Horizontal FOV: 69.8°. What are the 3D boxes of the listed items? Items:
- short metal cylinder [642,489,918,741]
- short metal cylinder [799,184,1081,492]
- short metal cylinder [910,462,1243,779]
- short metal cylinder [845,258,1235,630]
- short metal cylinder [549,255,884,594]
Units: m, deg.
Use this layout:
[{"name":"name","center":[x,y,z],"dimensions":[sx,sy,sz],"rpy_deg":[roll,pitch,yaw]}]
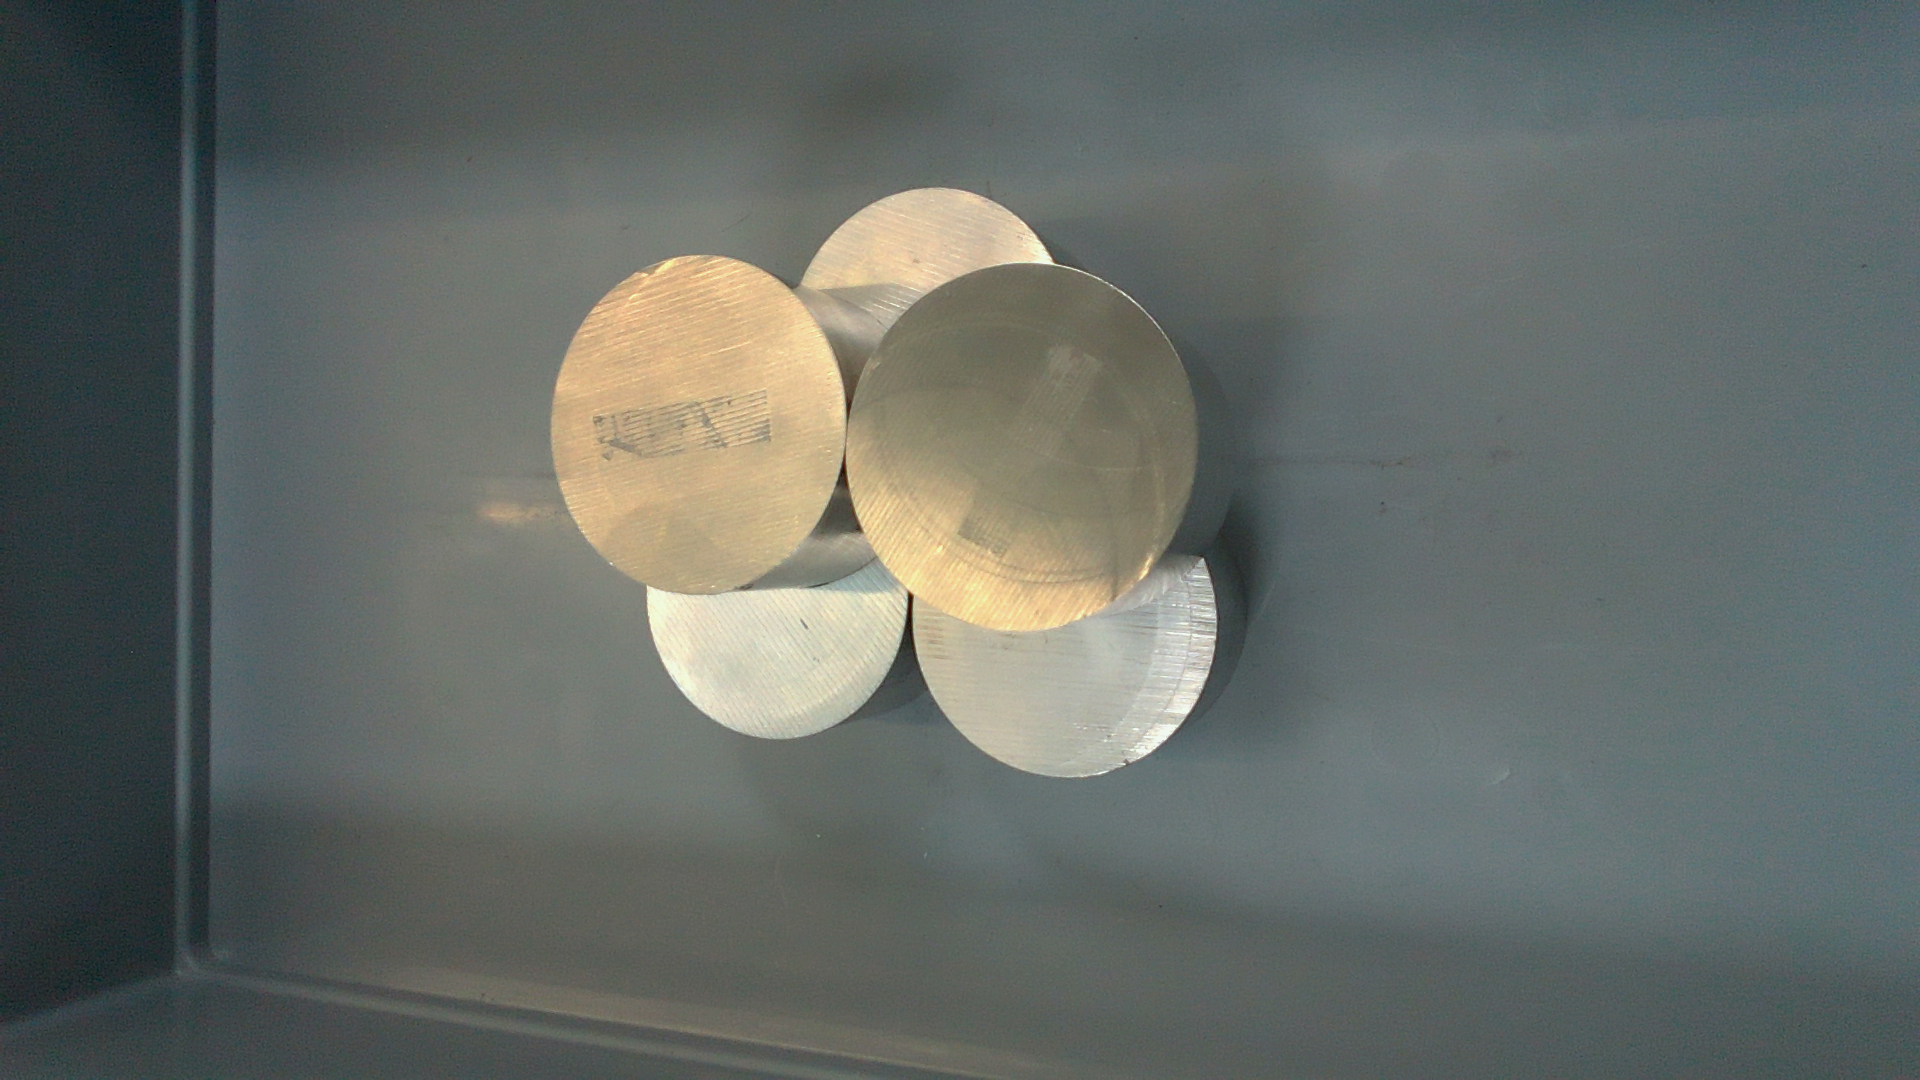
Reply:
[{"name":"short metal cylinder","center":[-0.043,0.014,0.397],"dimensions":[0.080,0.050,0.080],"rpy_deg":[0,90,20]},{"name":"short metal cylinder","center":[-0.001,-0.053,0.382],"dimensions":[0.080,0.050,0.080],"rpy_deg":[0,90,20]},{"name":"short metal cylinder","center":[0.033,0.020,0.369],"dimensions":[0.080,0.050,0.080],"rpy_deg":[0,90,20]},{"name":"short metal cylinder","center":[0.020,-0.021,0.320],"dimensions":[0.080,0.050,0.080],"rpy_deg":[0,90,20]},{"name":"short metal cylinder","center":[-0.055,-0.027,0.348],"dimensions":[0.080,0.050,0.080],"rpy_deg":[0,90,20]}]
